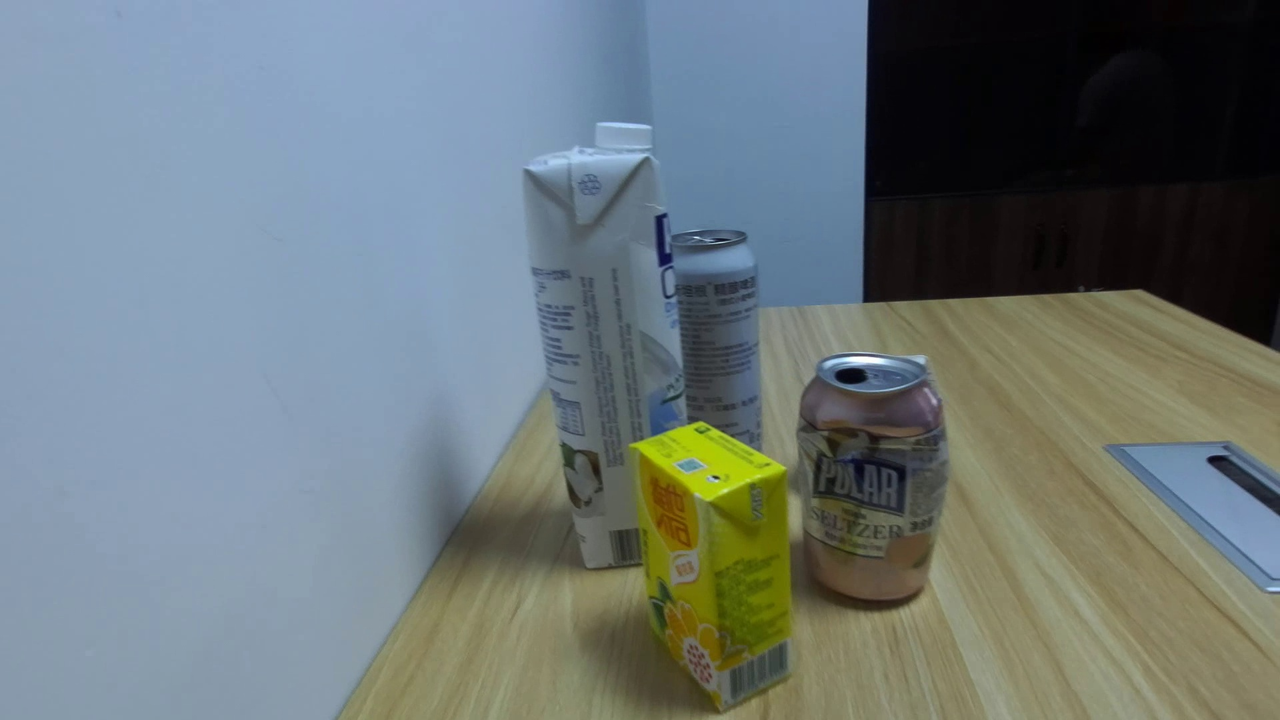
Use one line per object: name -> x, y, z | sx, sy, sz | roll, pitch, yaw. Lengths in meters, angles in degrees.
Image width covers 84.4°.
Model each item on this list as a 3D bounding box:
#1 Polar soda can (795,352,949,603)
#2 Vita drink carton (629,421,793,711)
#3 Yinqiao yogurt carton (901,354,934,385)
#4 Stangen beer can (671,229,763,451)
Polar soda can -> 0.118, 0.061, 0.373 | 0.067, 0.122, 0.074 | -9, 21, -16
Vita drink carton -> 0.034, 0.094, 0.327 | 0.044, 0.109, 0.066 | -17, 23, -26
Yinqiao yogurt carton -> 0.213, 0.034, 0.638 | 0.093, 0.083, 0.077 | 3, 17, 19
Stangen beer can -> 0.051, -0.002, 0.497 | 0.067, 0.171, 0.067 | -5, 20, 2
